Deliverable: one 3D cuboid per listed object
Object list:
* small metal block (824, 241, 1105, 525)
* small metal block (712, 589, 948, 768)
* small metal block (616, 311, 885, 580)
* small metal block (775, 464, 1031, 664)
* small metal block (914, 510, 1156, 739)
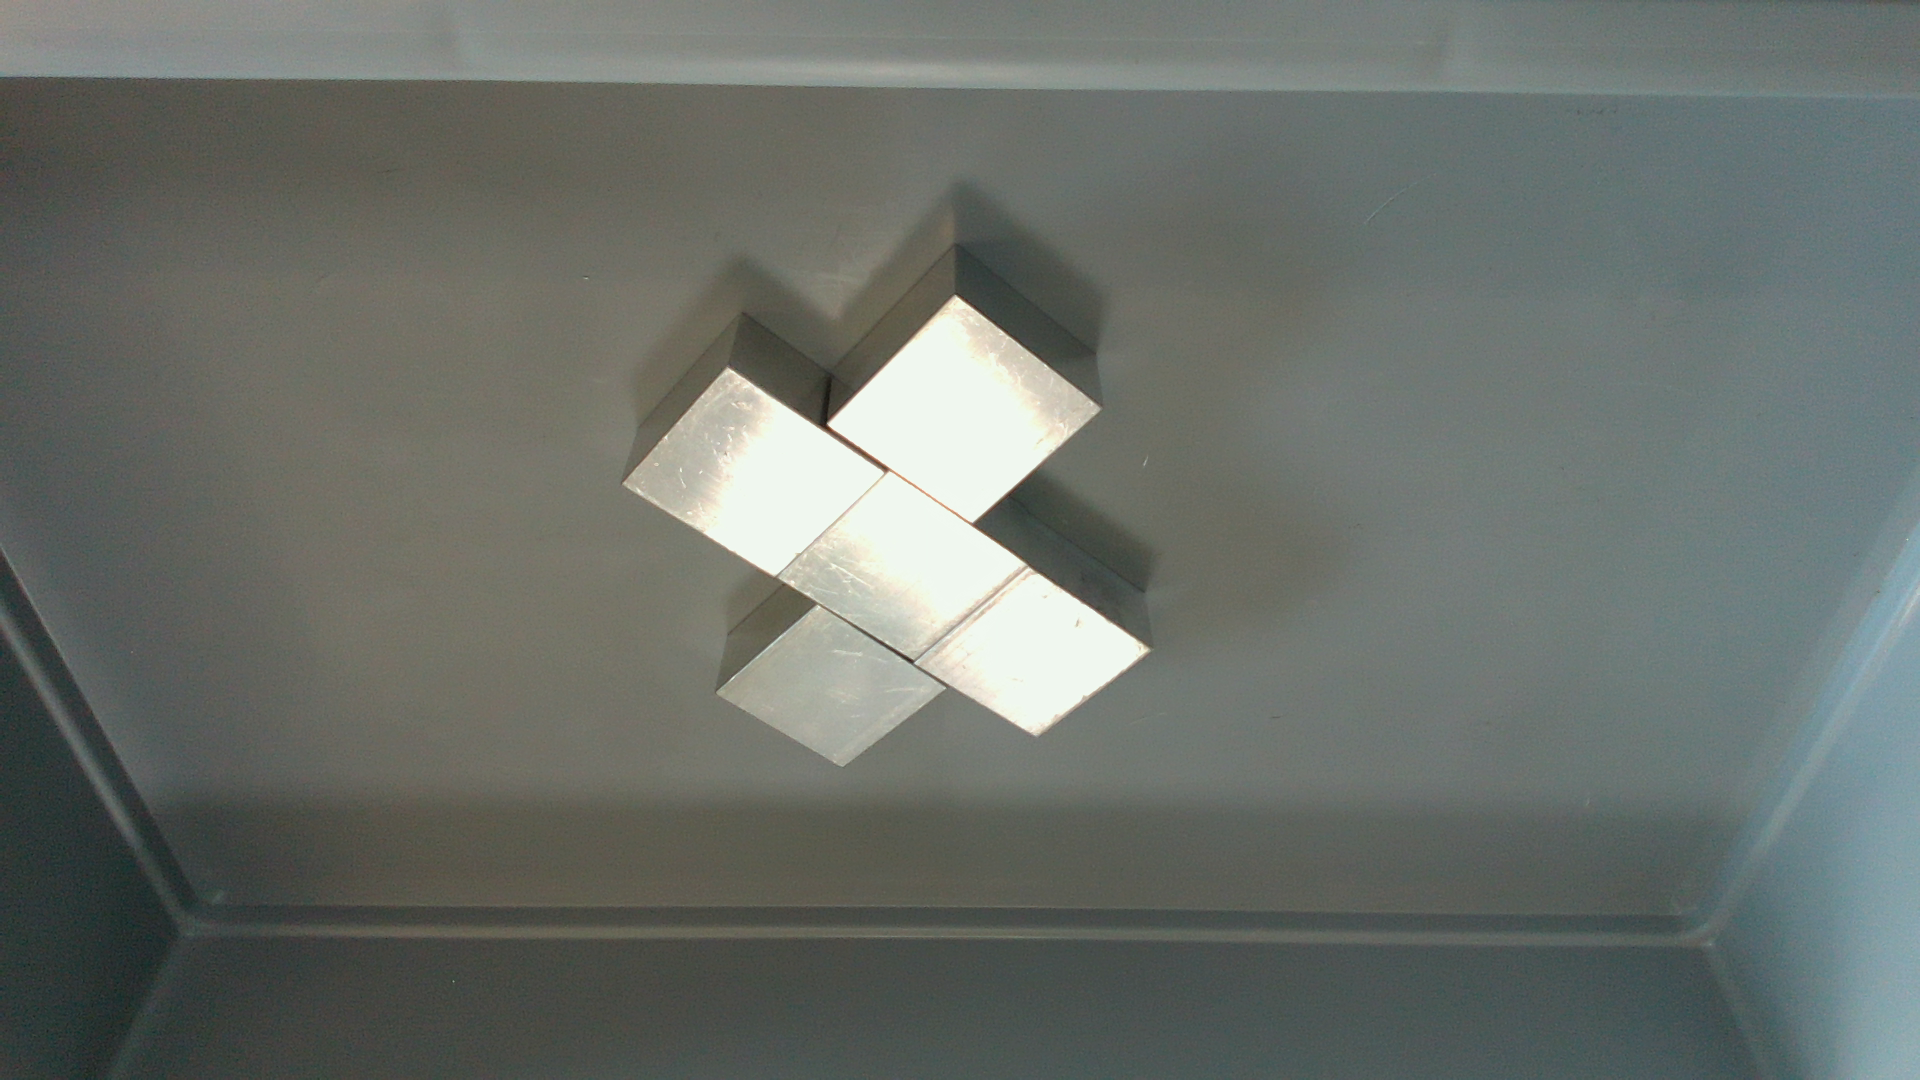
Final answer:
[{"bbox_3d":[0.001,-0.039,0.355,0.050,0.025,0.050,34,121,-25],"label":"small metal block"},{"bbox_3d":[-0.039,0.037,0.420,0.050,0.025,0.050,35,123,-26],"label":"small metal block"},{"bbox_3d":[-0.055,-0.024,0.368,0.050,0.025,0.050,34,122,-25],"label":"small metal block"},{"bbox_3d":[-0.016,0.001,0.388,0.050,0.025,0.050,34,122,-25],"label":"small metal block"},{"bbox_3d":[0.022,0.026,0.410,0.050,0.025,0.050,34,122,-25],"label":"small metal block"}]
